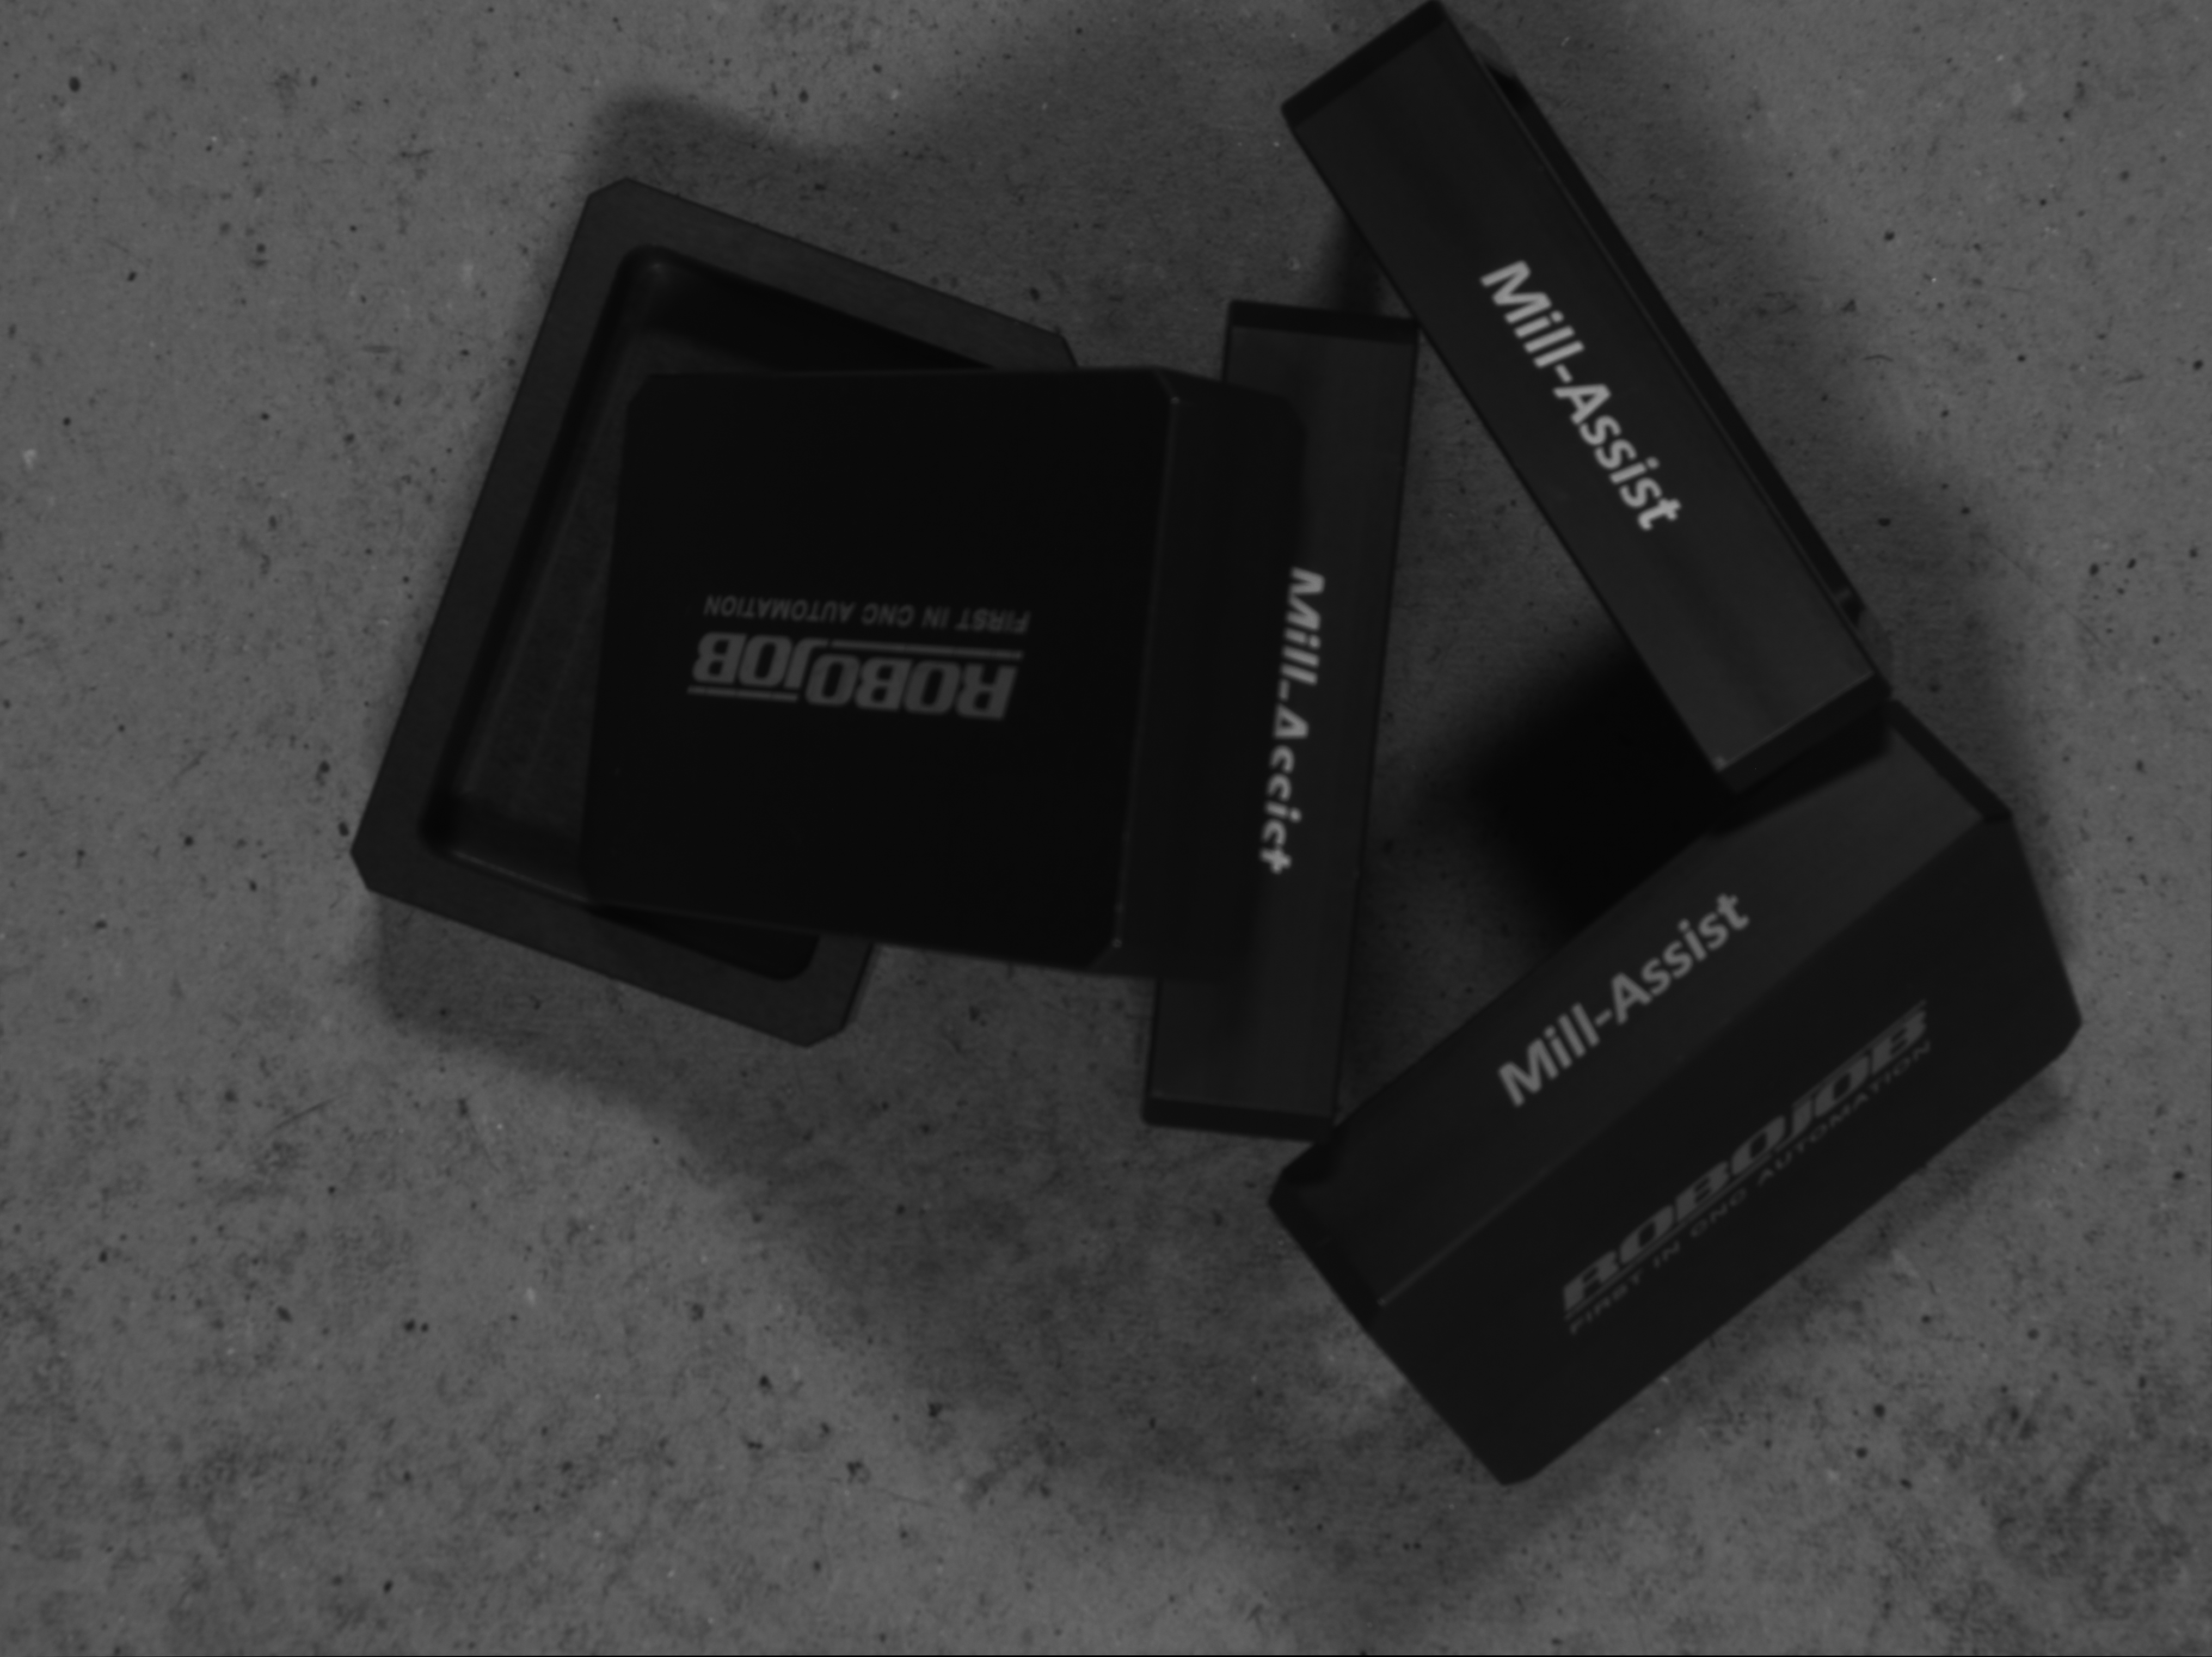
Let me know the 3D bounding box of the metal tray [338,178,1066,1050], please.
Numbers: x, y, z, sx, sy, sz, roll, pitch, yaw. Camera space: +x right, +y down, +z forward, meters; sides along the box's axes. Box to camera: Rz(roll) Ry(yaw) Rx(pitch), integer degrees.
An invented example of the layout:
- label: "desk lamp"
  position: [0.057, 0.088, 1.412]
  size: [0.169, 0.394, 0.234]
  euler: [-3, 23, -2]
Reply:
- label: "metal tray"
  position: [-0.069, -0.037, 0.642]
  size: [0.090, 0.030, 0.130]
  euler: [20, 90, 0]

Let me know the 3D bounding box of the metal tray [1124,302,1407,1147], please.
- label: "metal tray"
  position: [0.025, -0.016, 0.613]
  size: [0.030, 0.090, 0.130]
  euler: [6, 90, 0]

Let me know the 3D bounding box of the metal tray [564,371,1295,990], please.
- label: "metal tray"
  position: [-0.032, -0.026, 0.588]
  size: [0.130, 0.030, 0.090]
  euler: [6, 90, 44]

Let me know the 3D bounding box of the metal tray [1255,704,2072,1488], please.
- label: "metal tray"
  position: [0.096, 0.047, 0.613]
  size: [0.130, 0.090, 0.030]
  euler: [-39, 55, 0]

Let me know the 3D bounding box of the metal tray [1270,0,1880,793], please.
- label: "metal tray"
  position: [0.081, -0.073, 0.611]
  size: [0.030, 0.090, 0.130]
  euler: [-33, 90, 14]
